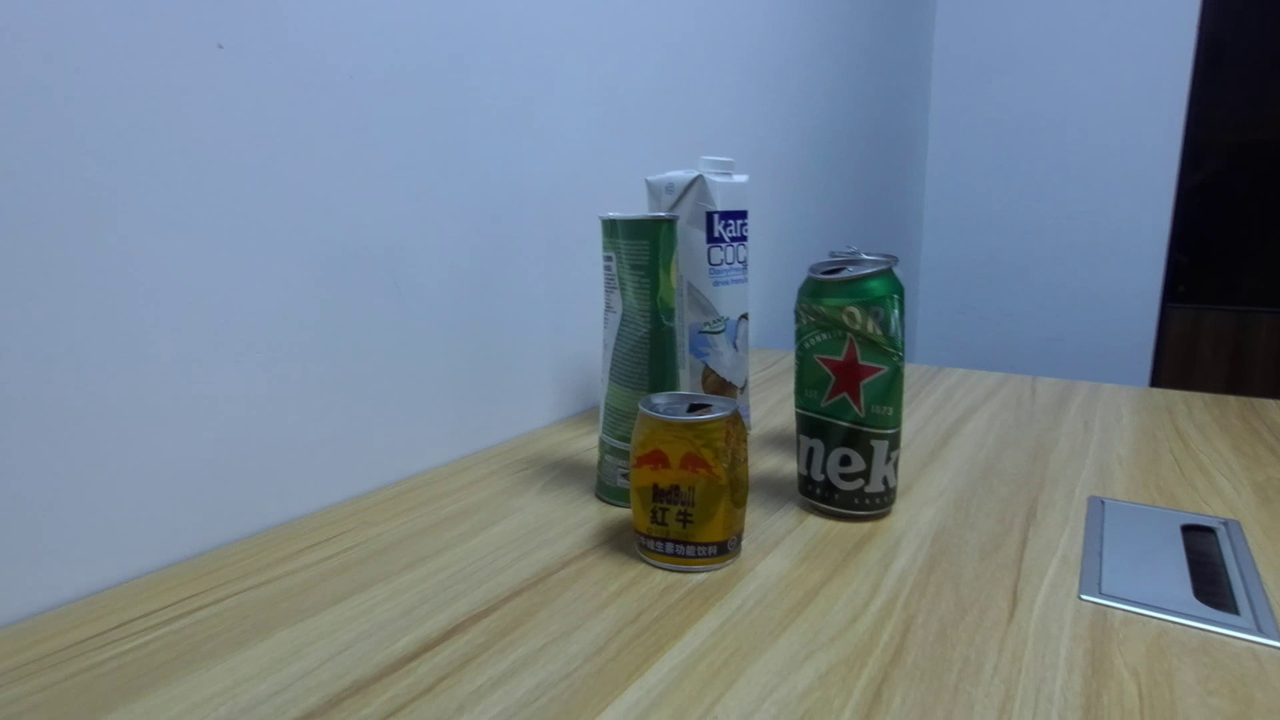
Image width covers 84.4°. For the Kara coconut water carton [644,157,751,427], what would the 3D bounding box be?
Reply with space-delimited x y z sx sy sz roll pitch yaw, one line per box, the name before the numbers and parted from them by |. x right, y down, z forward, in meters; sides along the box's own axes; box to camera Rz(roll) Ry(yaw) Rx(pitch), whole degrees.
Kara coconut water carton | 0.053 -0.051 0.620 0.075 0.245 0.077 9 15 44

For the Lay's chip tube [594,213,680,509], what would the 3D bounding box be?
Lay's chip tube | 0.000 -0.001 0.501 0.074 0.199 0.069 5 15 27

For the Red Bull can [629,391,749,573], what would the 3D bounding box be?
Red Bull can | 0.030 0.069 0.421 0.072 0.092 0.072 -1 12 0

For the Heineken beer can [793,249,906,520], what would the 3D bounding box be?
Heineken beer can | 0.141 0.020 0.475 0.069 0.168 0.068 -2 13 8
